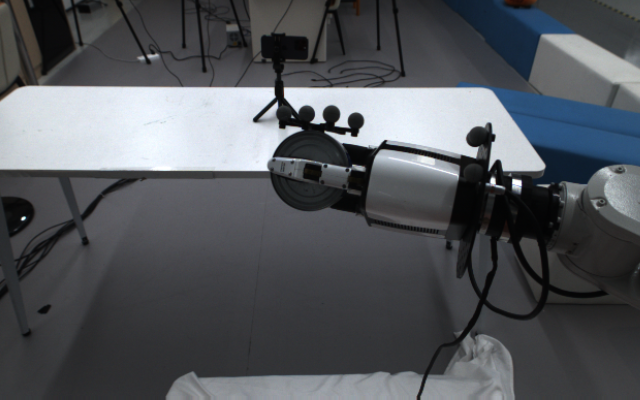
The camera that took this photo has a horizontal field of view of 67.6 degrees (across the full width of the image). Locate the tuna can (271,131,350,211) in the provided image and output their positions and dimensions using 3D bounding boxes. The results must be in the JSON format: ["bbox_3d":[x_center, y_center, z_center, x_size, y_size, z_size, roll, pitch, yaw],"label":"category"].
[{"bbox_3d":[-0.007,-0.034,0.523,0.085,0.085,0.034,11,3,12],"label":"tuna can"}]
